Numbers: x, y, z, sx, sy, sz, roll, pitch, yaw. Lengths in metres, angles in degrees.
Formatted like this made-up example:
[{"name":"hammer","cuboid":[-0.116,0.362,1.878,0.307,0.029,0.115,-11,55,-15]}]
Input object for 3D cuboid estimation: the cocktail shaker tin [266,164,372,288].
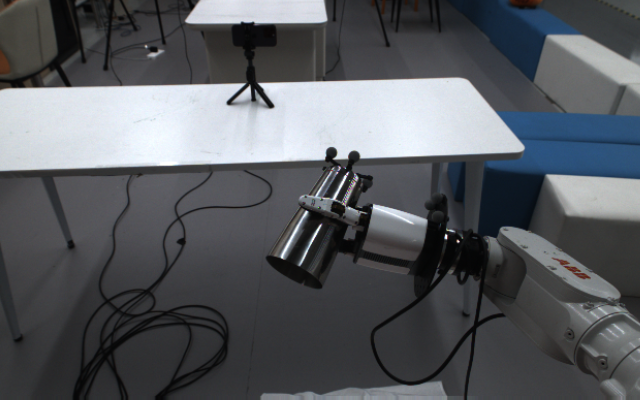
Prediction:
[{"name":"cocktail shaker tin","cuboid":[0.002,0.032,0.717,0.093,0.093,0.170,18,66,22]}]
